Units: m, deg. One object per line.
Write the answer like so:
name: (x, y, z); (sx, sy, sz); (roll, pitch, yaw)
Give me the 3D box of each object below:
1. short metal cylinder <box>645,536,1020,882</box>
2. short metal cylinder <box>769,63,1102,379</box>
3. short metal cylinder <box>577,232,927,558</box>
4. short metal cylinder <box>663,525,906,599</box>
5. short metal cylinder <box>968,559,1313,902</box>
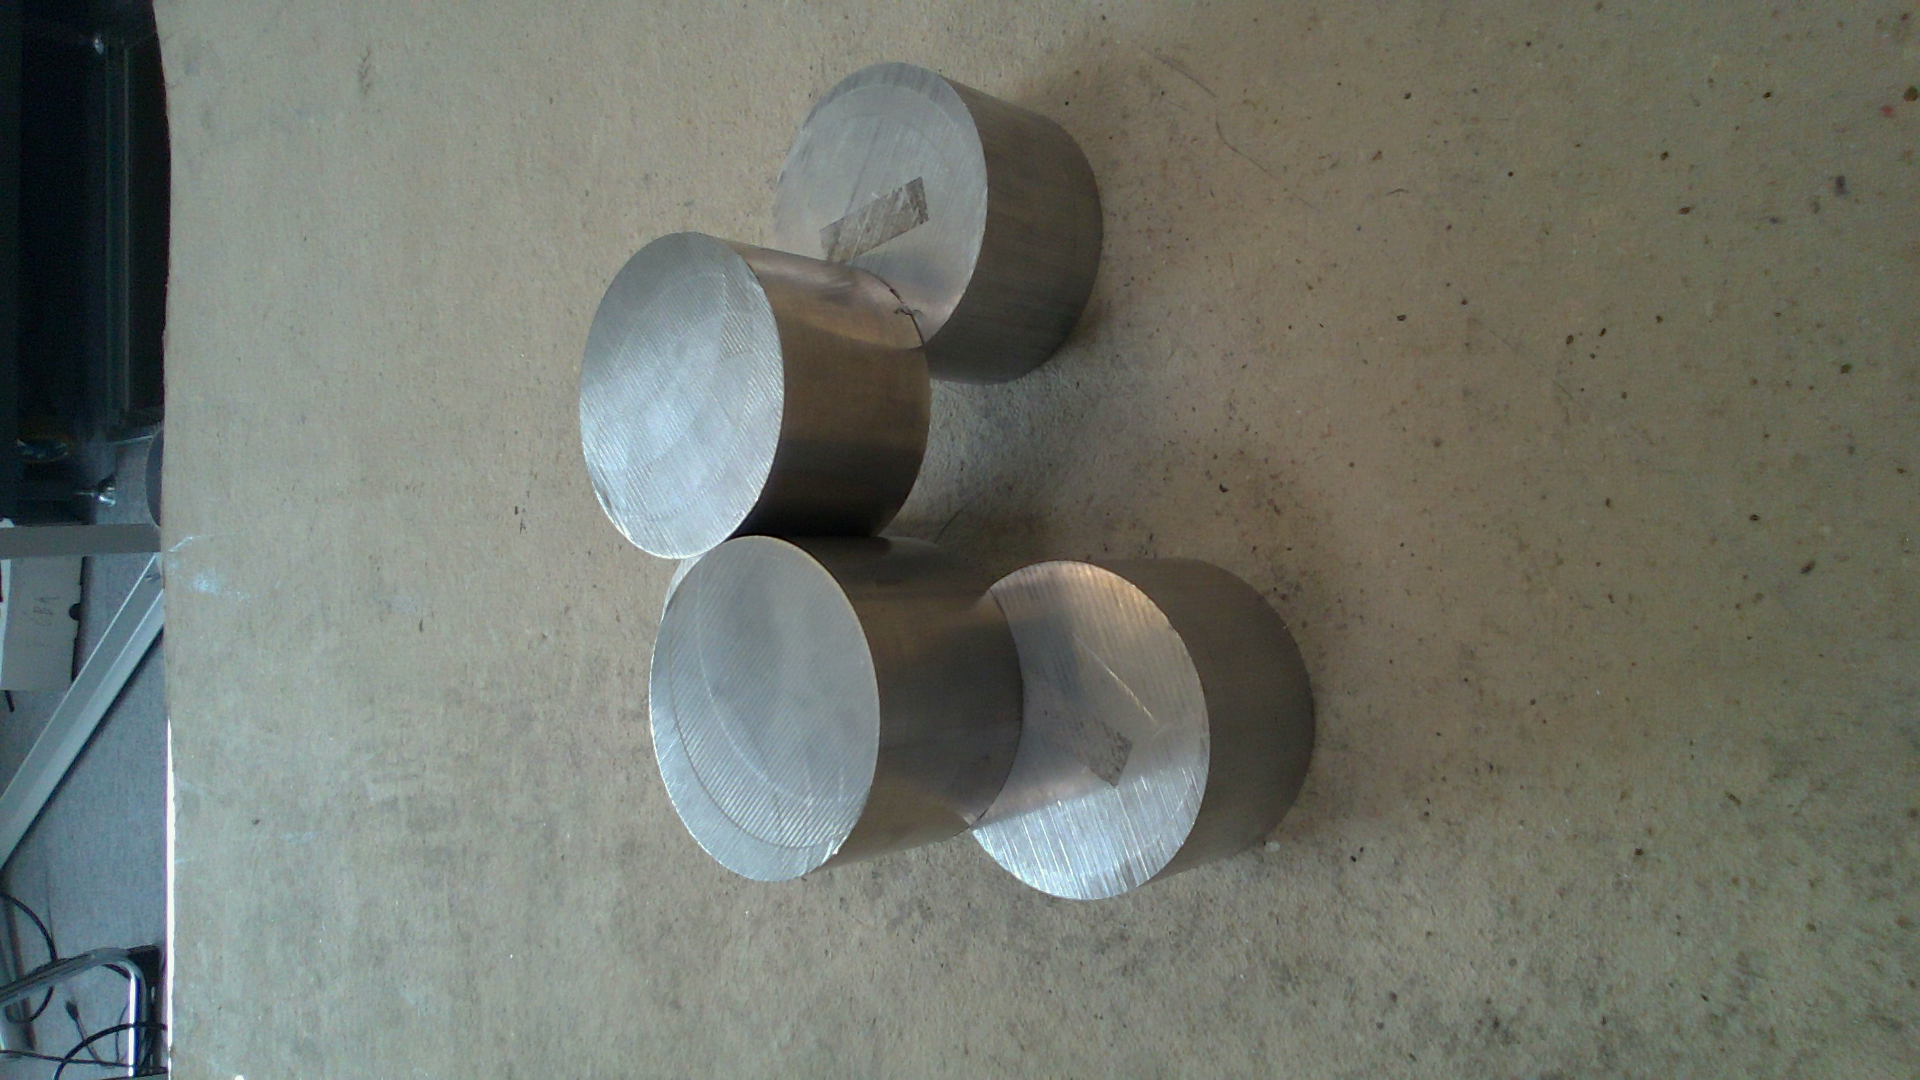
short metal cylinder: (-0.032, 0.039, 0.339); (0.080, 0.050, 0.080); (0, 90, 40)
short metal cylinder: (-0.008, -0.086, 0.385); (0.080, 0.050, 0.080); (0, 90, 40)
short metal cylinder: (-0.055, -0.036, 0.358); (0.080, 0.050, 0.080); (0, 90, 40)
short metal cylinder: (-0.047, 0.034, 0.418); (0.080, 0.050, 0.080); (0, 90, 40)
short metal cylinder: (0.040, 0.045, 0.344); (0.080, 0.050, 0.080); (0, 90, 40)
